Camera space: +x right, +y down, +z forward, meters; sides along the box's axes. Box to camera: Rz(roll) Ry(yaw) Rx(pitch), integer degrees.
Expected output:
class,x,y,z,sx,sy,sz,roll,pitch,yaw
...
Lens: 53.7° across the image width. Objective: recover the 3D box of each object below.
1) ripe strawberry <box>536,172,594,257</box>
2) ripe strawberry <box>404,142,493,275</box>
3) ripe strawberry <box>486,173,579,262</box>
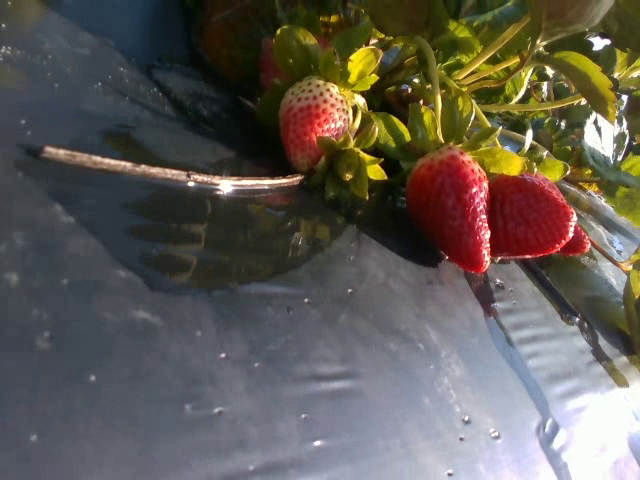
class,x,y,z,sx,sy,sz,roll,pitch,yaw
ripe strawberry,0.088,-0.006,0.237,0.035,0.034,0.041,1,28,-46
ripe strawberry,0.046,-0.010,0.198,0.031,0.046,0.023,7,-30,-45
ripe strawberry,0.071,-0.010,0.214,0.030,0.037,0.039,21,1,-42
